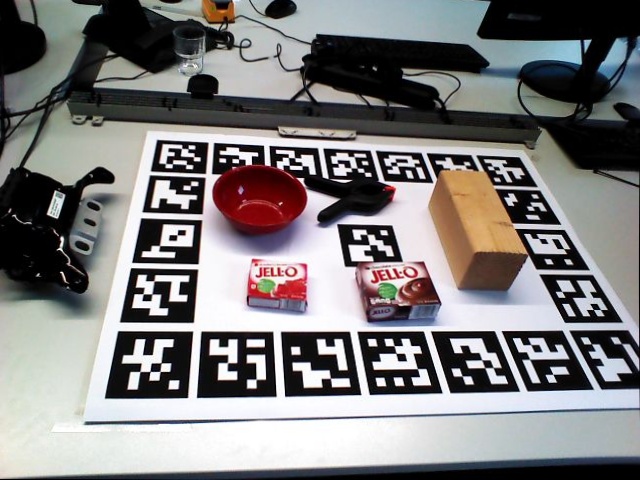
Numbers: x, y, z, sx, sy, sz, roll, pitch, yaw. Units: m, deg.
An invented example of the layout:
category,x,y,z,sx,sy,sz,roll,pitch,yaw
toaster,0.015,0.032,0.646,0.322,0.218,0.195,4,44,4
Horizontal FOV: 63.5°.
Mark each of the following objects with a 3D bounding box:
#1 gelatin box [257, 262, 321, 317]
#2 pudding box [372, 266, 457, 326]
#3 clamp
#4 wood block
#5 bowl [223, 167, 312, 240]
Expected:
category,x,y,z,sx,sy,sz,roll,pitch,yaw
gelatin box,-0.045,0.073,0.772,0.089,0.030,0.073,7,46,-2
pudding box,0.141,0.084,0.787,0.114,0.039,0.089,-1,50,-7
clamp,0.071,-0.071,0.943,0.165,0.037,0.121,-5,46,-17
wood block,0.291,-0.013,0.871,0.090,0.091,0.205,4,45,-7
bowl,-0.084,-0.053,0.884,0.162,0.055,0.160,5,48,-6
